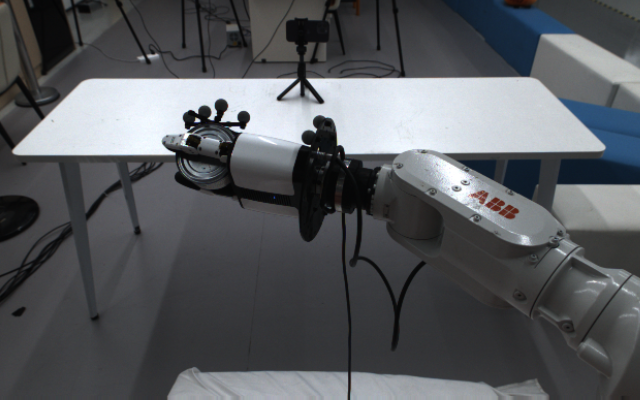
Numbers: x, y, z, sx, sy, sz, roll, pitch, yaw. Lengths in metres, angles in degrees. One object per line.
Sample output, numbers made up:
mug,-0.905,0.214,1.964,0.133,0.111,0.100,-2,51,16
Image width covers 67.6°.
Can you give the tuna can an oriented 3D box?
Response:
tuna can,-0.148,-0.057,0.654,0.085,0.034,0.085,-3,73,9
